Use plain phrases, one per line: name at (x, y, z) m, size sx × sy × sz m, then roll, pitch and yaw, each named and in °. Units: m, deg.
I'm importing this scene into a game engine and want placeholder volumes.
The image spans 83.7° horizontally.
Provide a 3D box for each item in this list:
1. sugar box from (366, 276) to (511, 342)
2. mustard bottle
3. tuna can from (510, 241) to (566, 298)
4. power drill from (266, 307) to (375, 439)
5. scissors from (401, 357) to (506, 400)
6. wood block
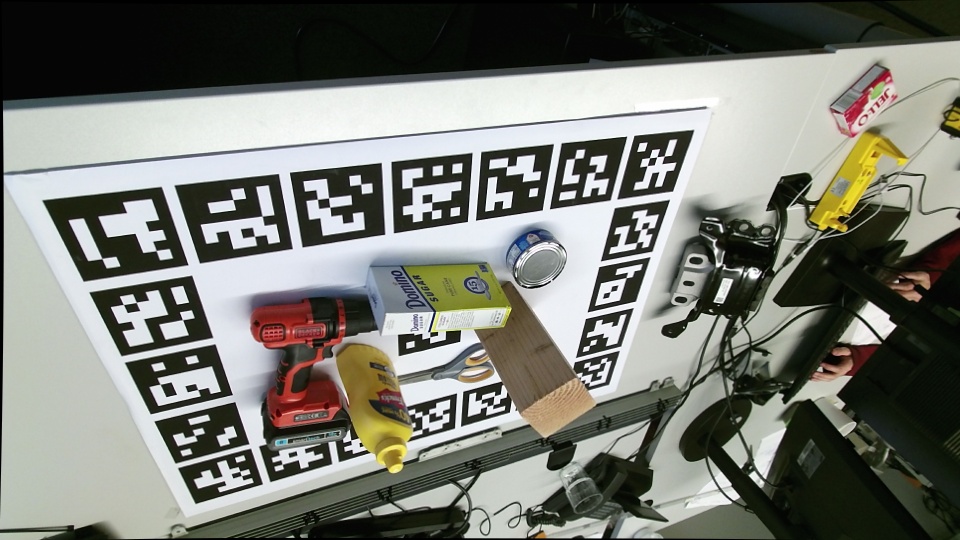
sugar box at (-0.057, 0.050, 0.725) m, size 0.177 × 0.092 × 0.045 m, roll 0°, pitch 126°, yaw -25°
mustard bottle at (-0.136, 0.203, 0.740) m, size 0.058 × 0.191 × 0.096 m, roll -43°, pitch 130°, yaw 6°
tuna can at (0.088, 0.001, 0.794) m, size 0.086 × 0.033 × 0.086 m, roll -13°, pitch 127°, yaw -17°
power drill at (-0.199, 0.138, 0.738) m, size 0.185 × 0.057 × 0.187 m, roll 1°, pitch 116°, yaw -28°
scissors at (-0.040, 0.186, 0.881) m, size 0.203 × 0.016 × 0.088 m, roll -9°, pitch 131°, yaw -21°
wood block at (0.072, 0.136, 0.788) m, size 0.091 × 0.205 × 0.090 m, roll -34°, pitch 131°, yaw -1°
